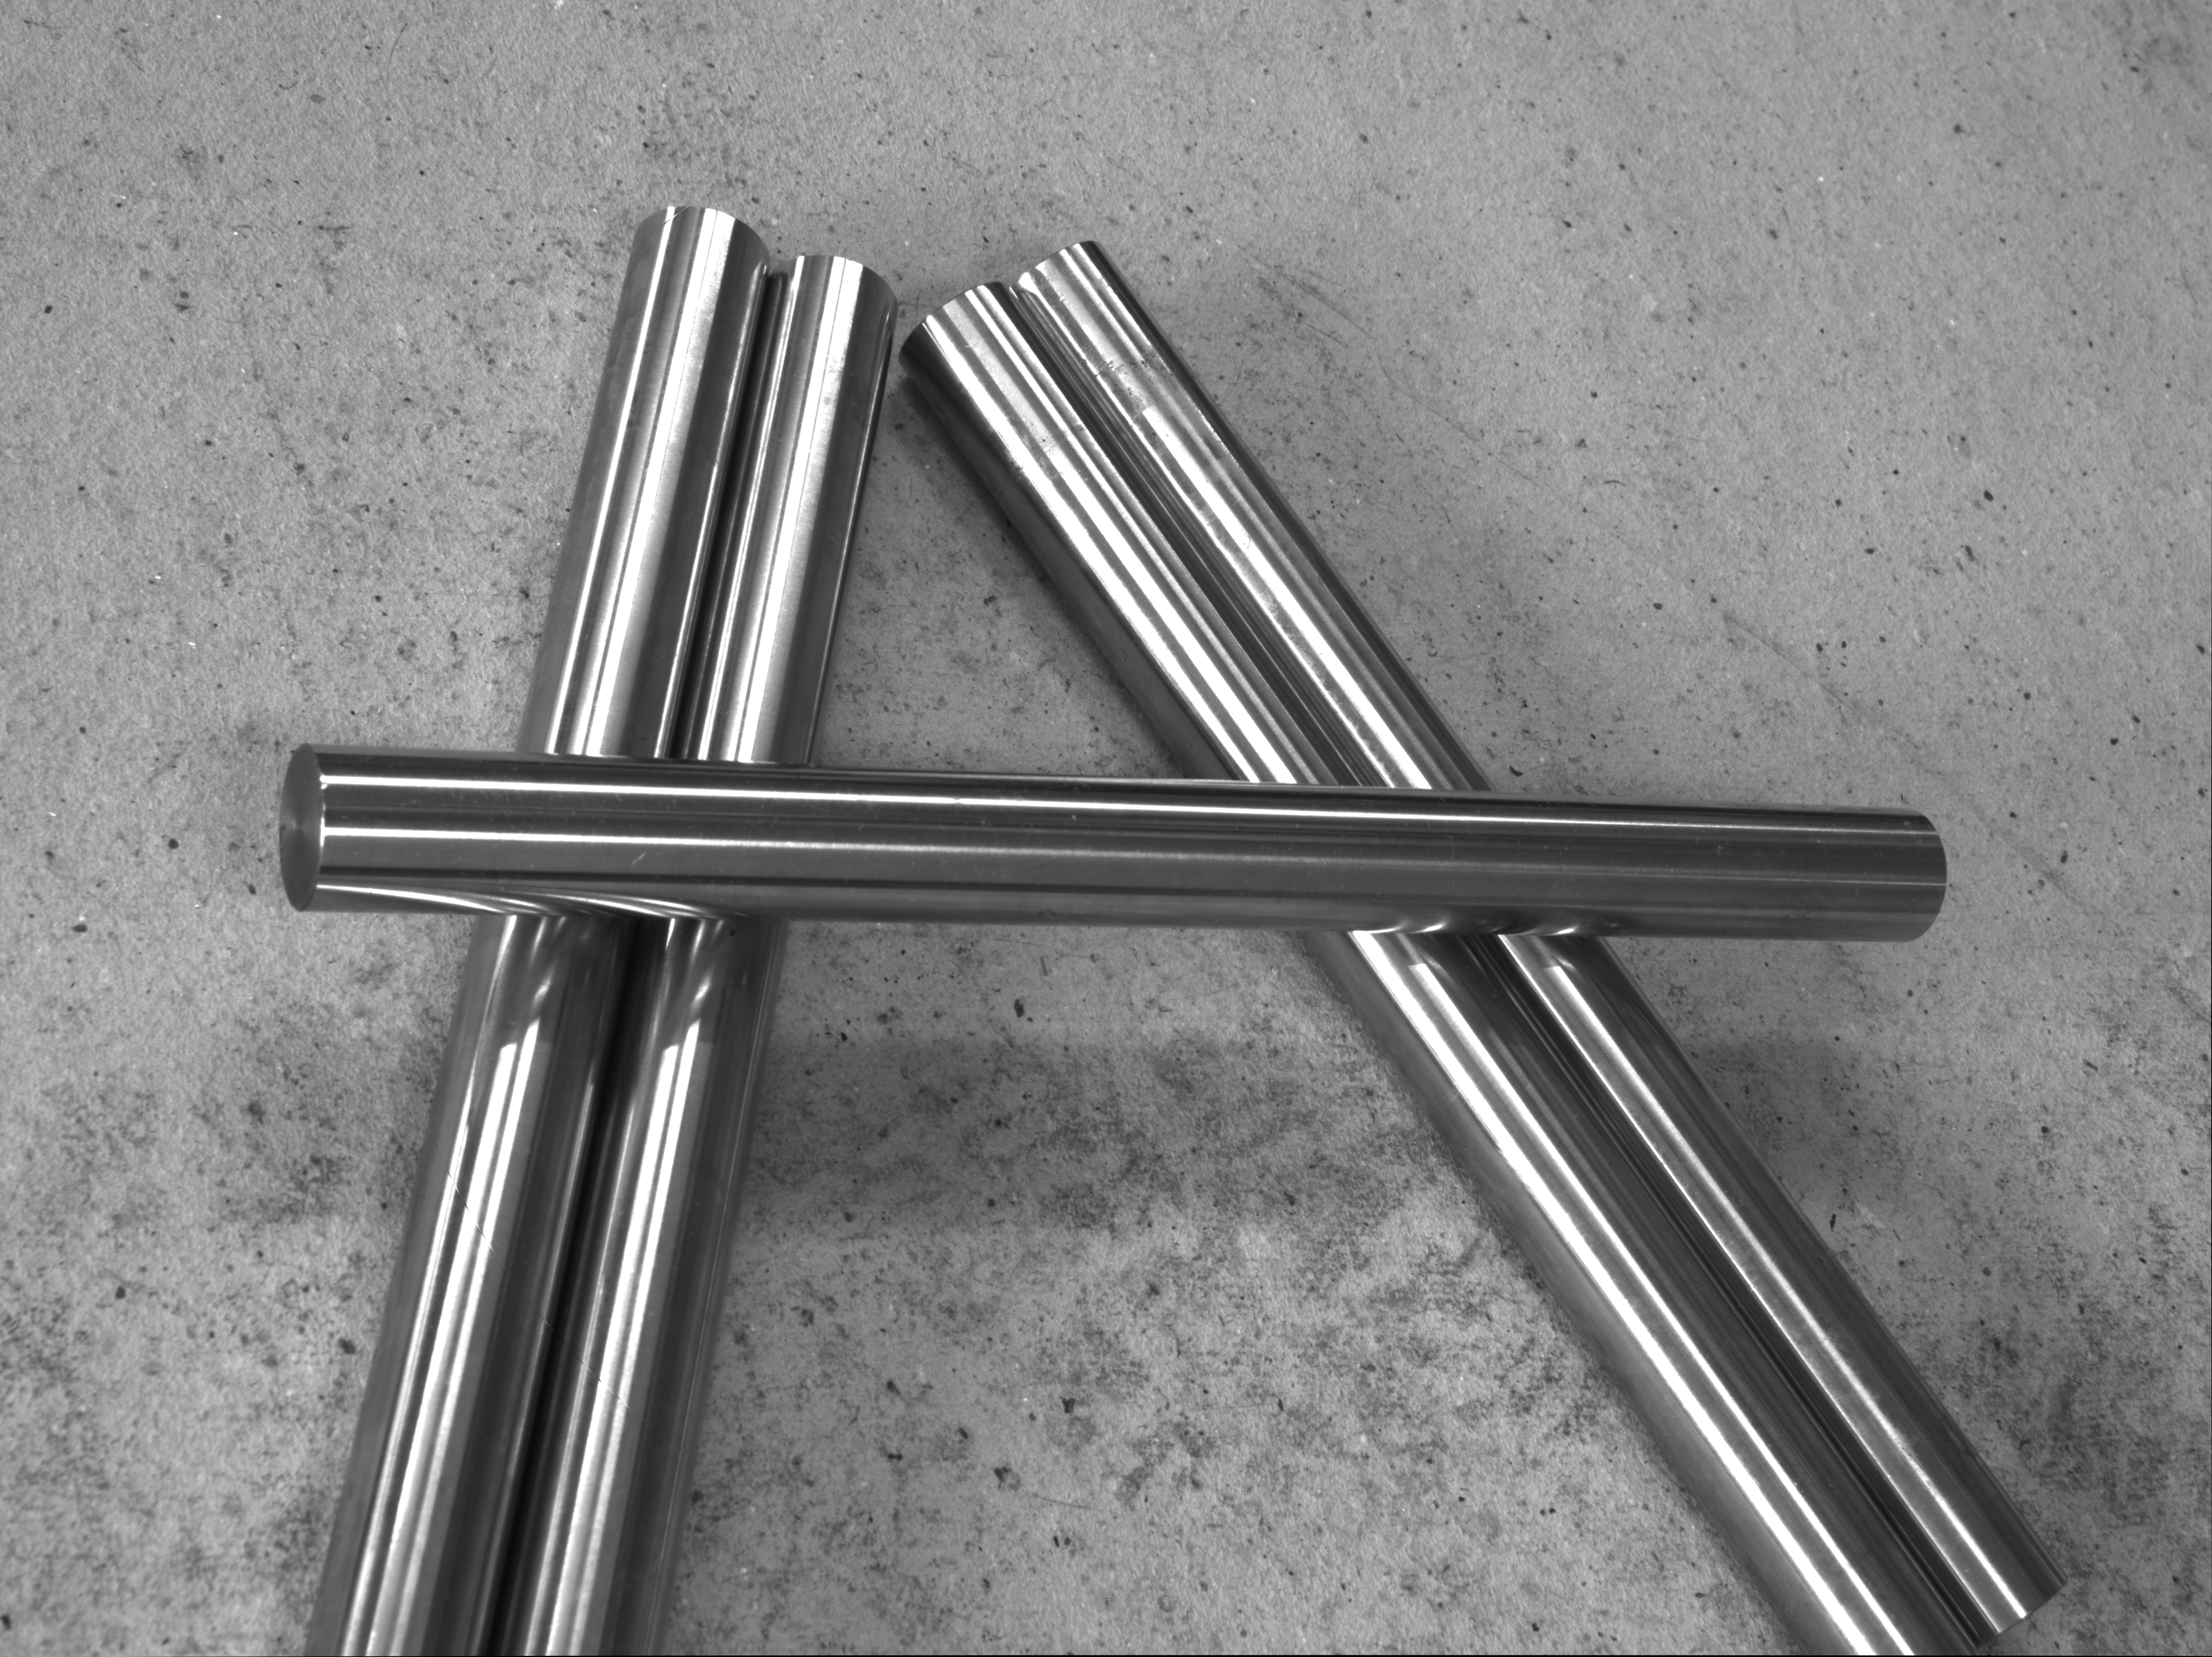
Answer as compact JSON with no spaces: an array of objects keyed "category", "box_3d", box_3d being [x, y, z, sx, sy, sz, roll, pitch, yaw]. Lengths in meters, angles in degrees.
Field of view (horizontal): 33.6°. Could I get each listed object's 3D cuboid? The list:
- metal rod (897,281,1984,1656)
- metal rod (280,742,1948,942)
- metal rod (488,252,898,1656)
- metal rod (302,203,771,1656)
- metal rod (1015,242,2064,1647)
[{"category":"metal rod","box_3d":[0.055,0.027,0.653,0.025,0.025,0.300,-26,76,-37]},{"category":"metal rod","box_3d":[0.015,0.004,0.612,0.301,0.025,0.025,2,61,-27]},{"category":"metal rod","box_3d":[-0.065,0.027,0.587,0.025,0.025,0.300,19,54,-17]},{"category":"metal rod","box_3d":[-0.088,0.019,0.579,0.025,0.025,0.300,19,54,-17]},{"category":"metal rod","box_3d":[0.073,0.018,0.667,0.025,0.025,0.300,-26,76,-37]}]
